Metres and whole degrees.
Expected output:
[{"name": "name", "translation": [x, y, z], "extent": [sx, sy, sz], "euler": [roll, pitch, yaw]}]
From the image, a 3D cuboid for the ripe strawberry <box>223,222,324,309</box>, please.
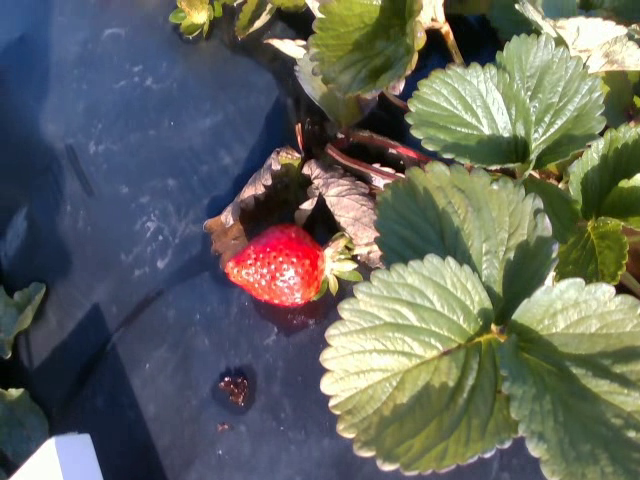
[{"name": "ripe strawberry", "translation": [-0.026, 0.013, 0.251], "extent": [0.054, 0.047, 0.038], "euler": [-8, -16, -12]}]
